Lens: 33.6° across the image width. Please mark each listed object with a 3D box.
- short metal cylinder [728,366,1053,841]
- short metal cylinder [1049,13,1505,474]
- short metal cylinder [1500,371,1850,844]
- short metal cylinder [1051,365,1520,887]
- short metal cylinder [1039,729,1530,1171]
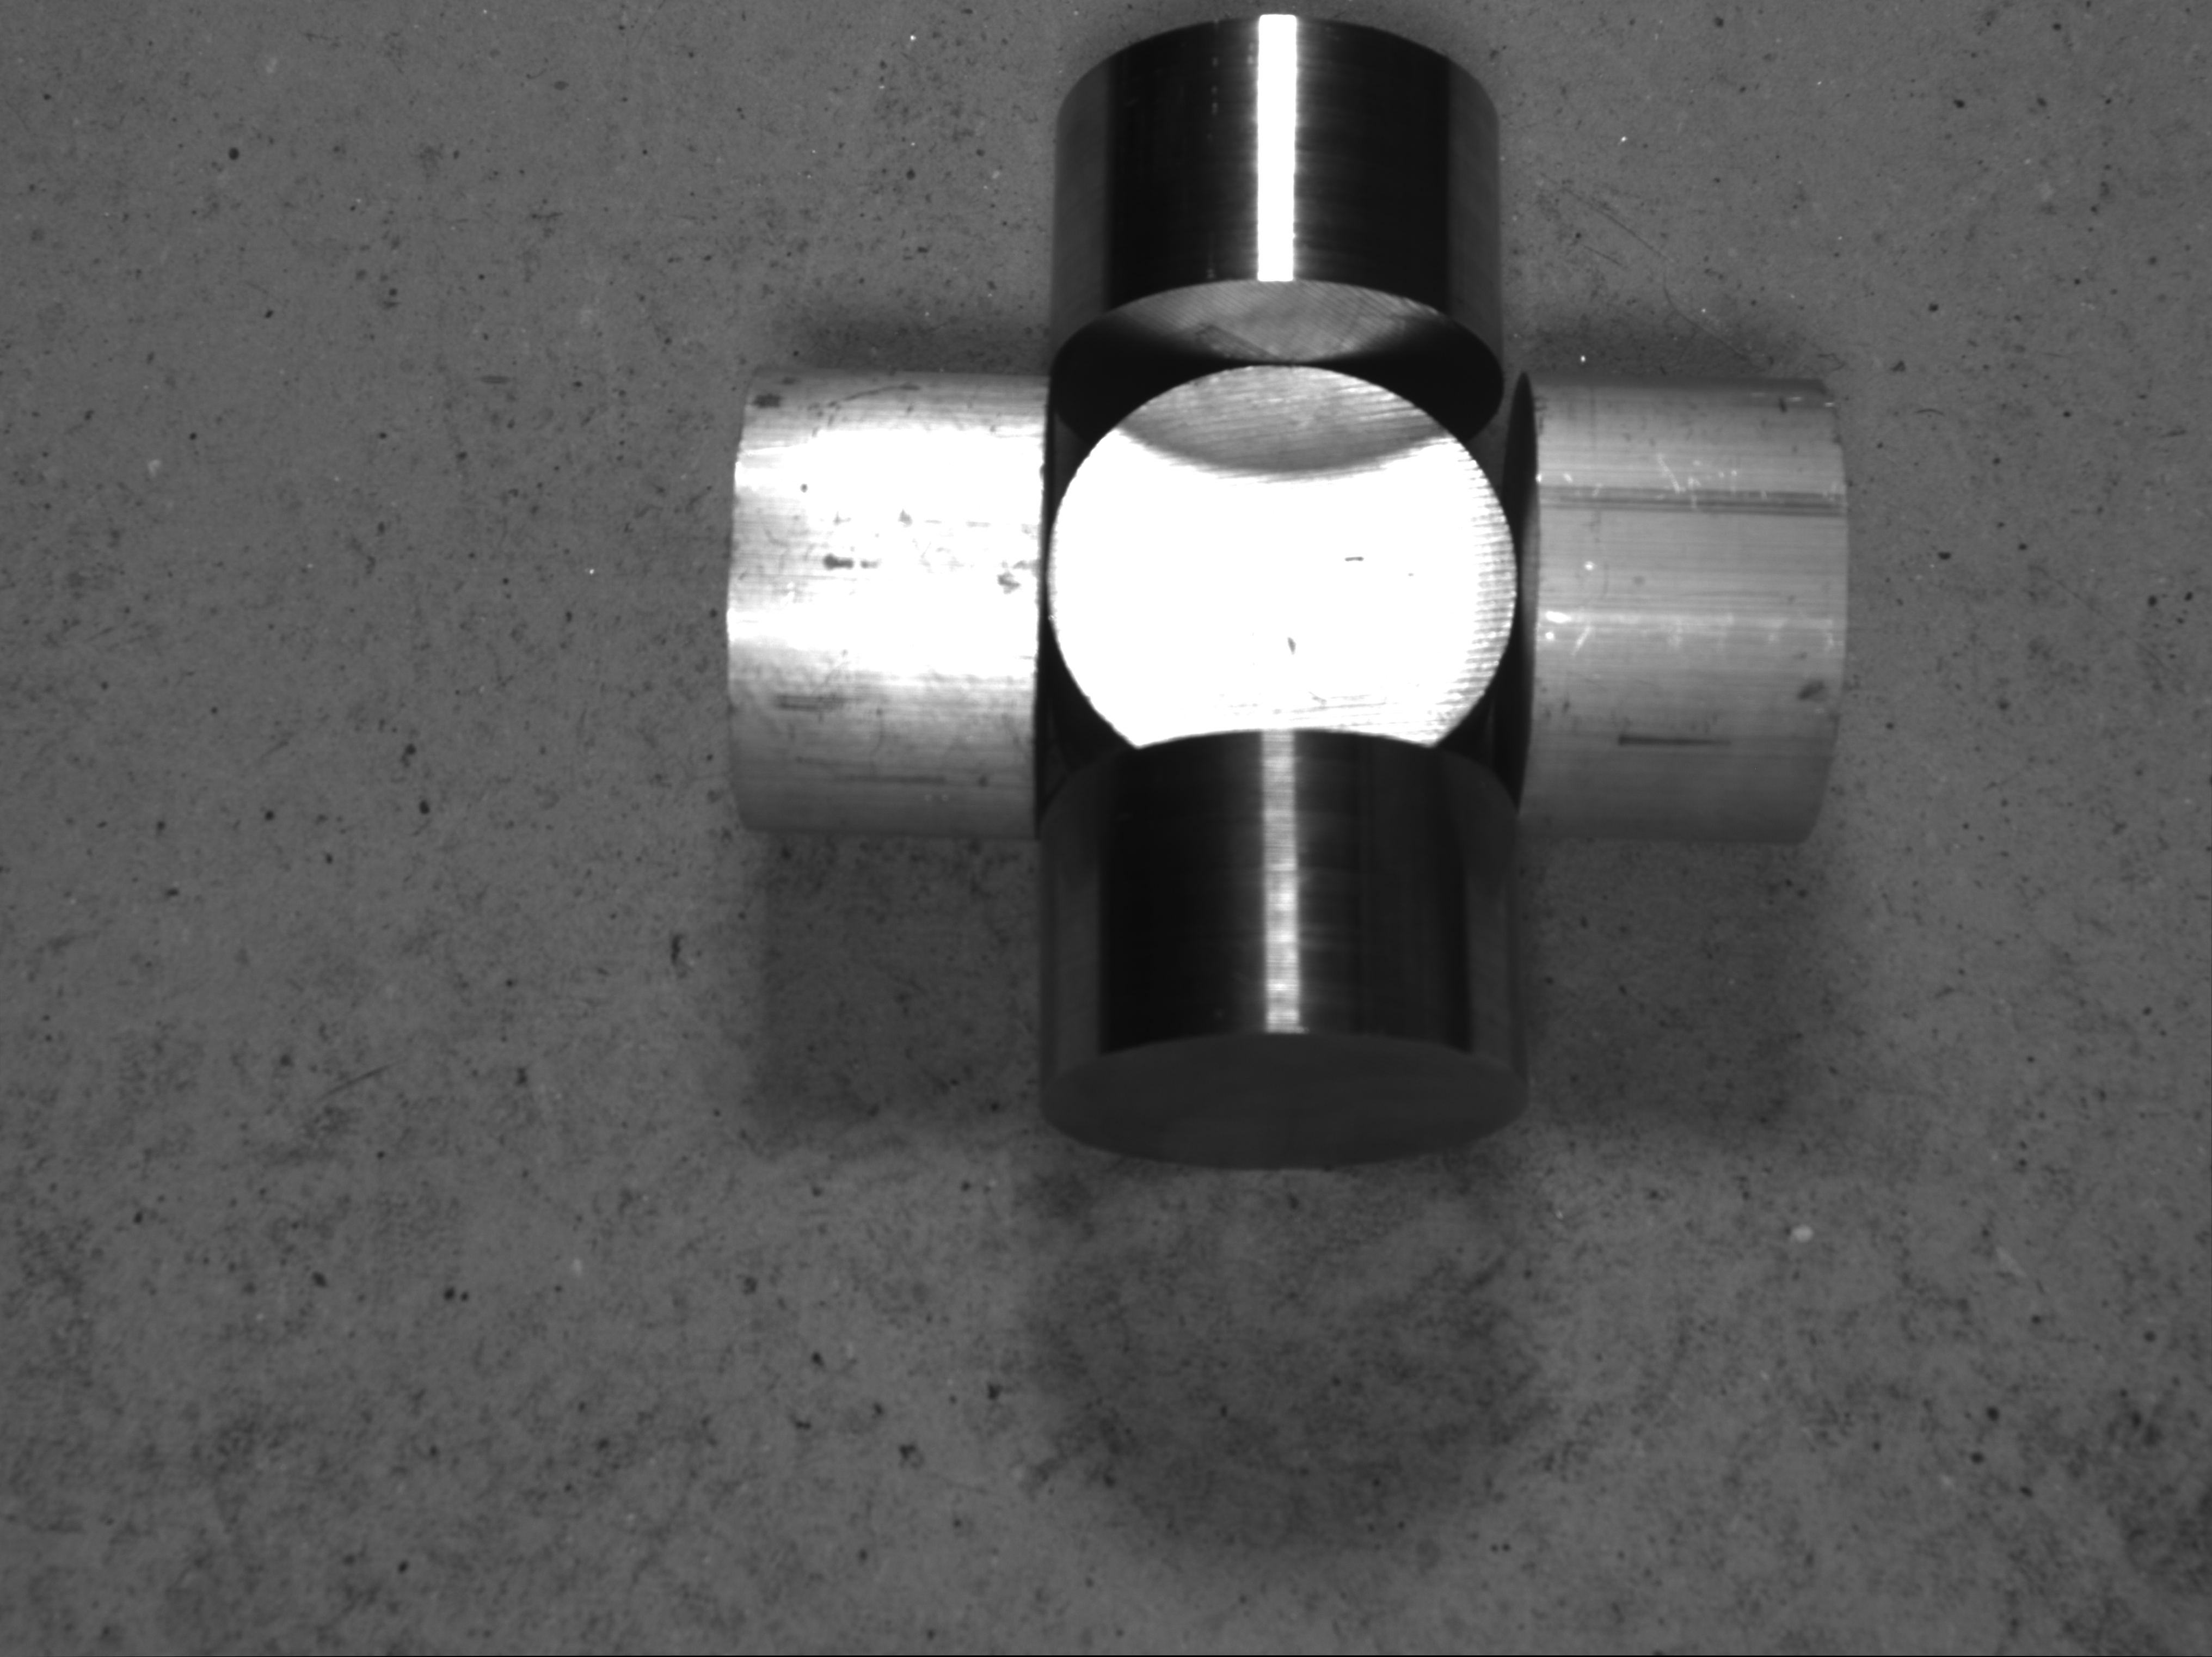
[{"bbox_3d":[-0.035,-0.039,0.630,0.050,0.080,0.080,2,70,1],"label":"short metal cylinder"},{"bbox_3d":[0.031,-0.102,0.652,0.080,0.080,0.050,2,70,1],"label":"short metal cylinder"},{"bbox_3d":[0.095,-0.038,0.630,0.050,0.080,0.080,2,70,1],"label":"short metal cylinder"},{"bbox_3d":[0.030,-0.034,0.645,0.080,0.050,0.080,0,70,0],"label":"short metal cylinder"},{"bbox_3d":[0.029,0.022,0.607,0.080,0.080,0.050,0,69,0],"label":"short metal cylinder"}]
